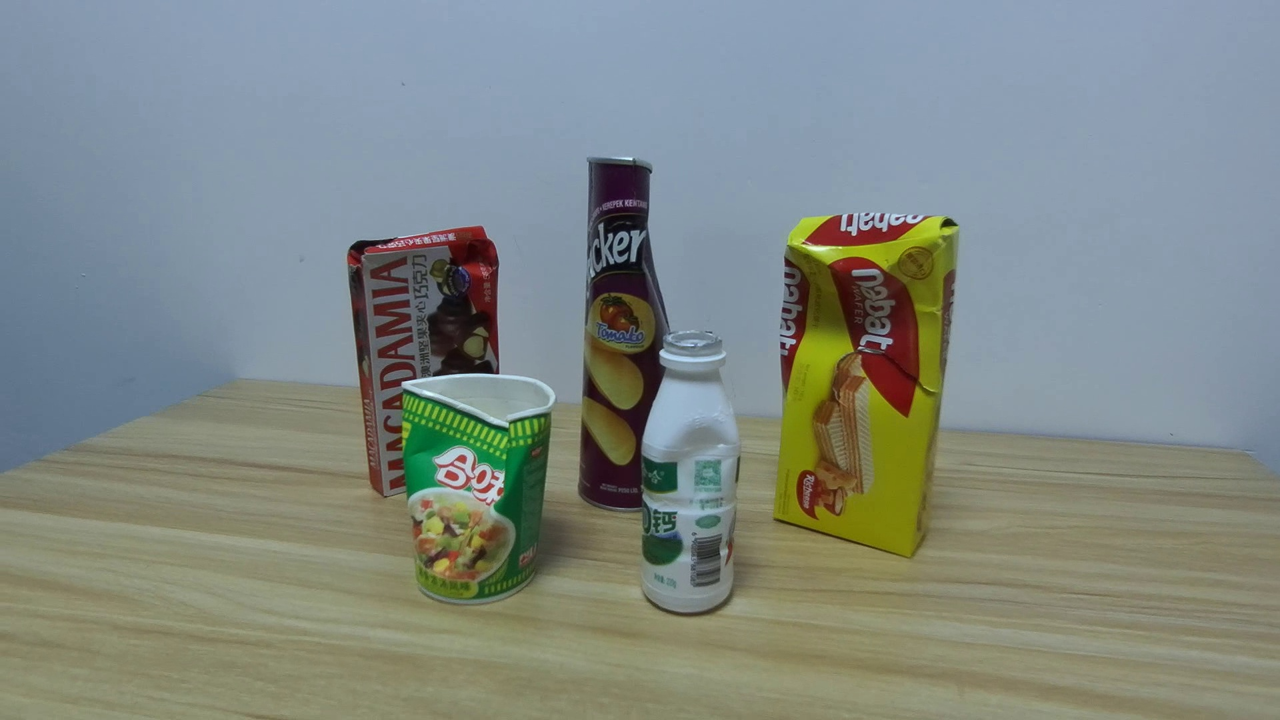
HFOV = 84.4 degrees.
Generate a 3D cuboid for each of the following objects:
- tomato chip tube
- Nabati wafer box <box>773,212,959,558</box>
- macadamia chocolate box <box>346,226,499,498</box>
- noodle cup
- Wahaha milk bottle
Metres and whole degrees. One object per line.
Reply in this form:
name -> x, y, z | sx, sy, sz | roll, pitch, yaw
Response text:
tomato chip tube -> -0.005, -0.017, 0.489 | 0.076, 0.235, 0.078 | 13, 19, 42
Nabati wafer box -> 0.133, 0.013, 0.438 | 0.106, 0.204, 0.042 | 11, 21, 32
macadamia chocolate box -> -0.148, 0.001, 0.510 | 0.103, 0.187, 0.027 | -12, 24, -35
noodle cup -> -0.092, 0.071, 0.402 | 0.075, 0.122, 0.082 | 0, 6, -28
Wahaha milk bottle -> 0.025, 0.059, 0.377 | 0.055, 0.149, 0.055 | -1, 17, 1
